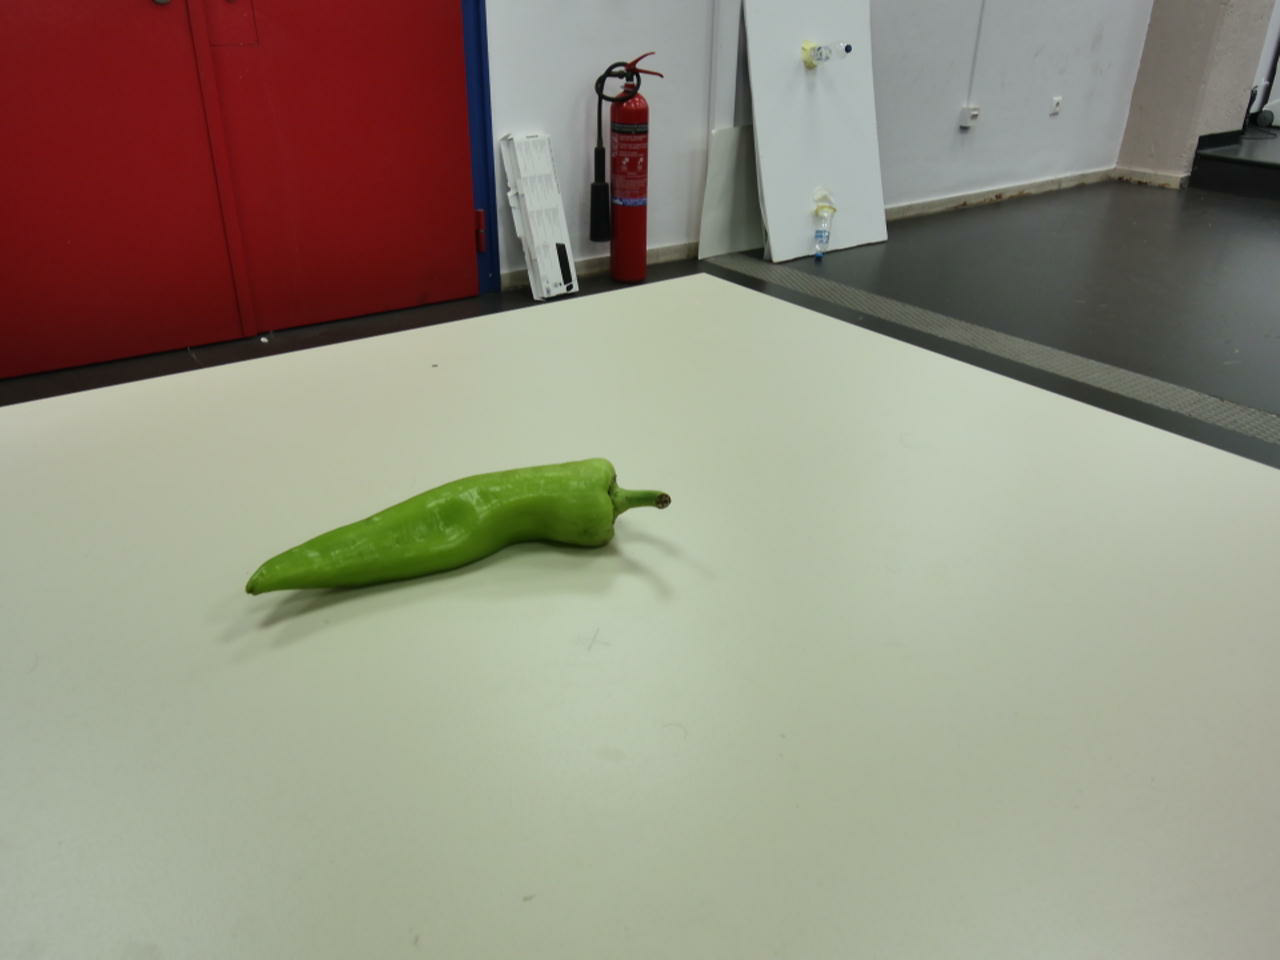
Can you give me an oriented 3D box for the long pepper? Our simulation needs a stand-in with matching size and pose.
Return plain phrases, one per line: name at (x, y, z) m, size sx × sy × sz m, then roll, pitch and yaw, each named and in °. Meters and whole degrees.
long pepper at (-0.090, 0.023, 0.501) m, size 0.204 × 0.045 × 0.065 m, roll -9°, pitch 27°, yaw -19°
